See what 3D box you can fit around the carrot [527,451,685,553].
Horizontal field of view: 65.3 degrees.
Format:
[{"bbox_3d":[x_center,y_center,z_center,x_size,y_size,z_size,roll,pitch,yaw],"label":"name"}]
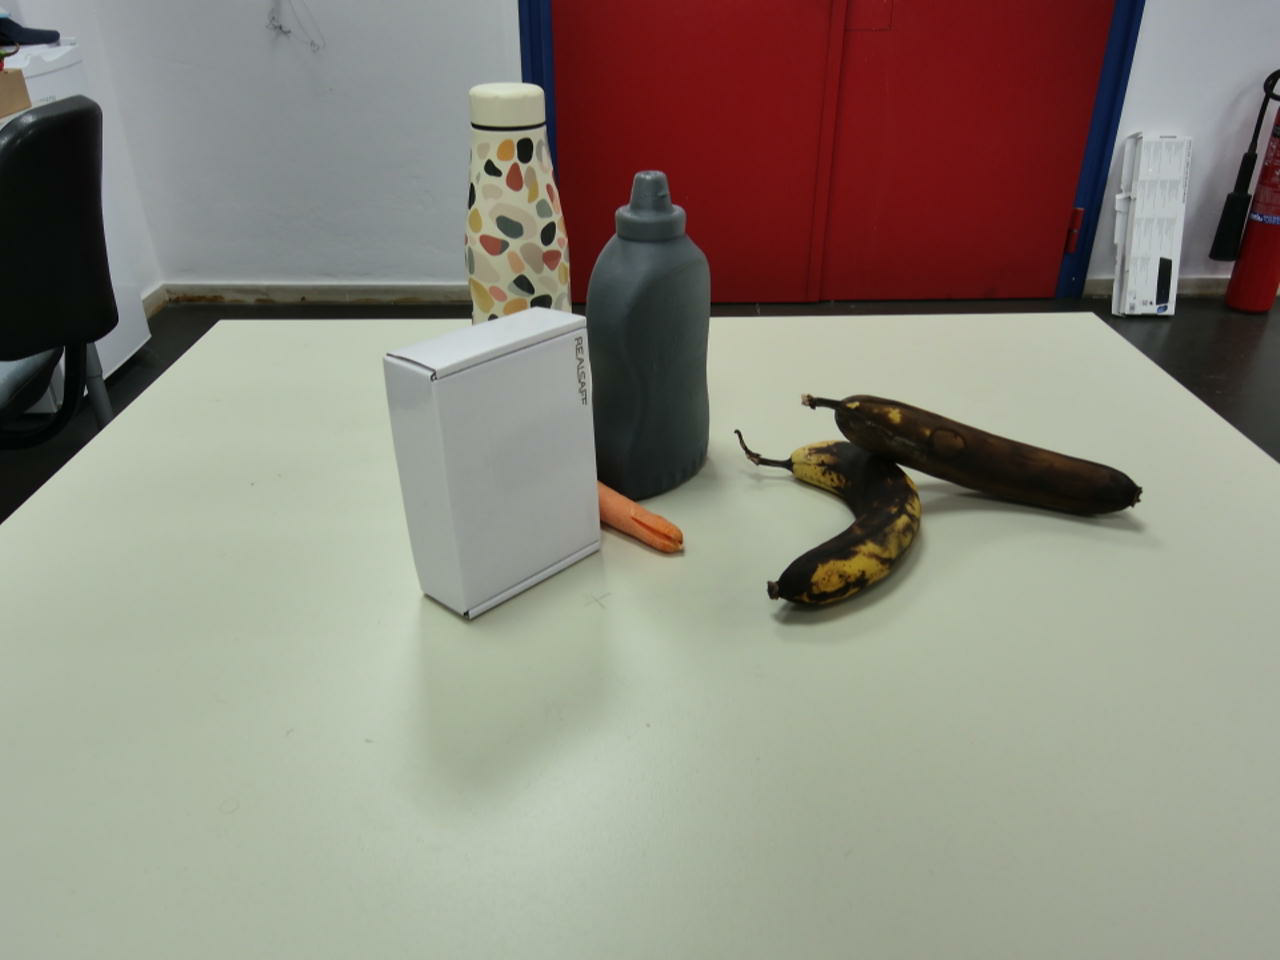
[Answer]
[{"bbox_3d":[-0.025,0.012,0.642,0.136,0.032,0.030,24,35,39],"label":"carrot"}]
